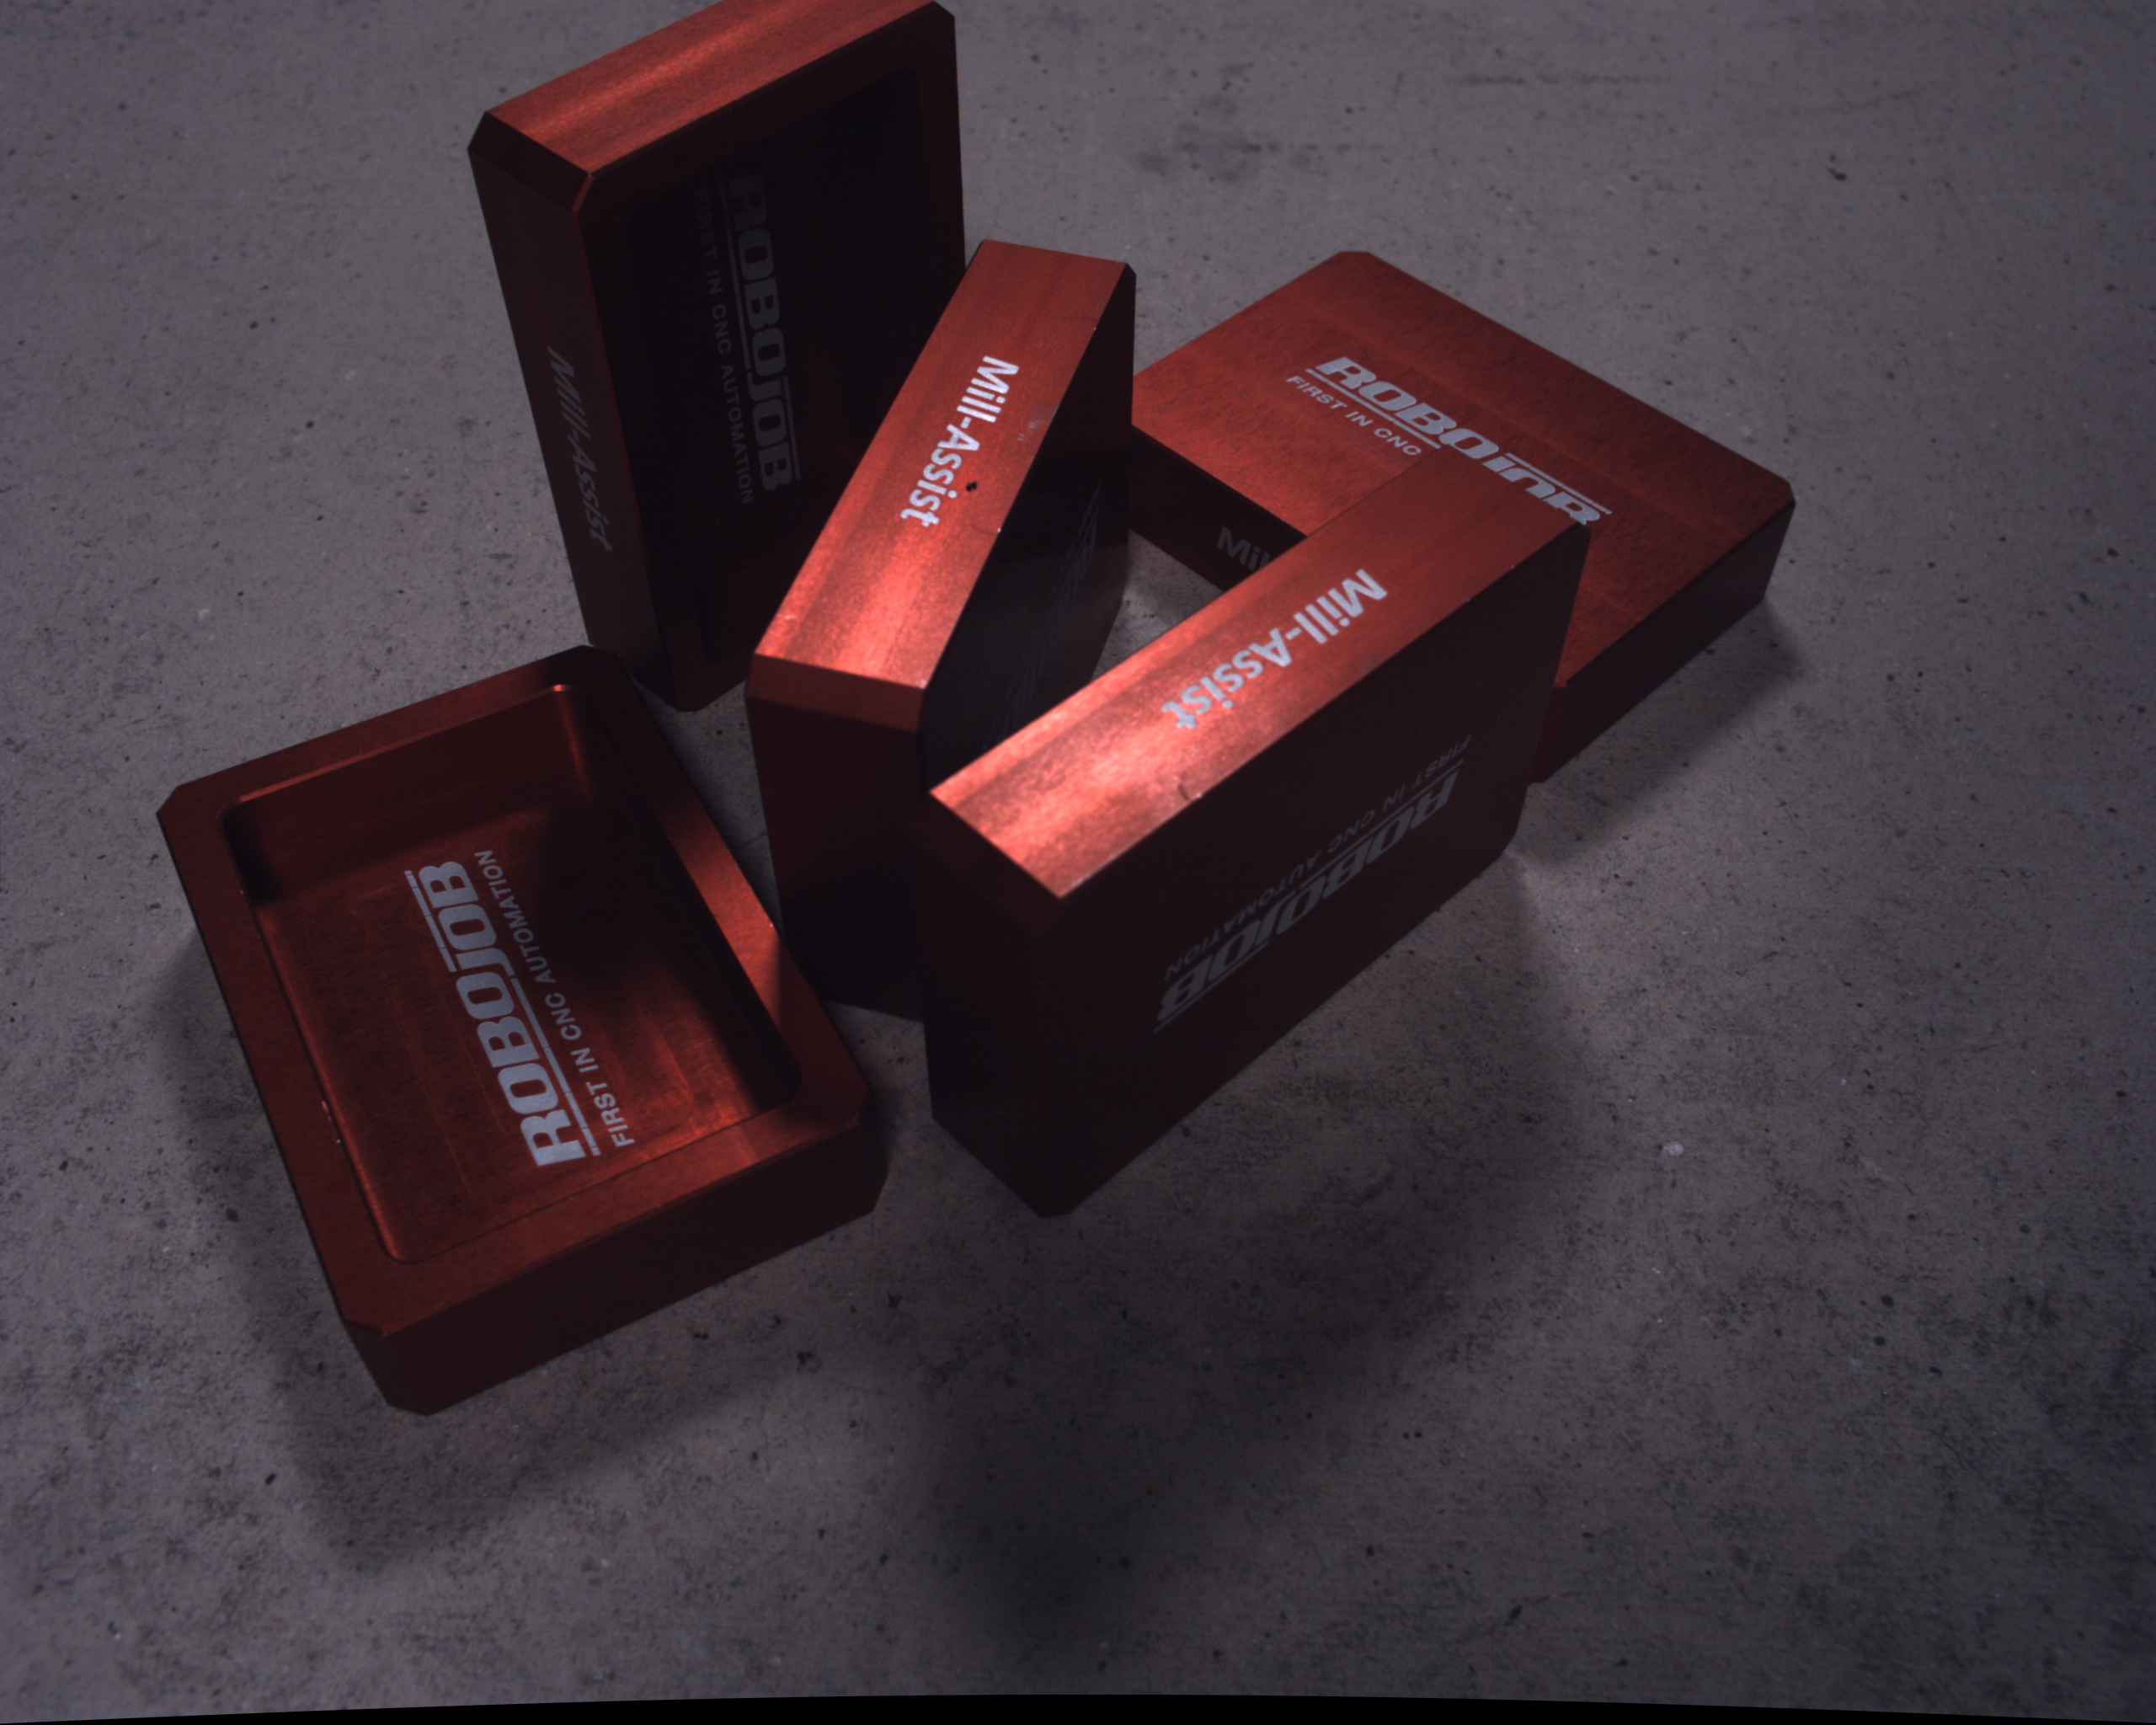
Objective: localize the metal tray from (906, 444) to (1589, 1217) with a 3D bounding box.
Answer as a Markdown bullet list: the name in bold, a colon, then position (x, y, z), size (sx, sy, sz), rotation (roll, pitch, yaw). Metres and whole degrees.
- **metal tray**: position (0.031, -0.006, 0.367), size (0.131, 0.089, 0.030), rotation (-36, 59, -27)

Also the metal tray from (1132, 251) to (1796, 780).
- **metal tray**: position (0.080, -0.083, 0.472), size (0.091, 0.030, 0.130), rotation (-37, 59, -27)

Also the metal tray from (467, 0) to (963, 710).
- **metal tray**: position (-0.065, -0.104, 0.423), size (0.030, 0.129, 0.090), rotation (36, 58, 26)

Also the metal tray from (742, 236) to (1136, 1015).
- **metal tray**: position (-0.021, -0.046, 0.401), size (0.030, 0.089, 0.130), rotation (13, 51, 10)

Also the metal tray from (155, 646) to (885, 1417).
- **metal tray**: position (-0.103, 0.024, 0.380), size (0.091, 0.030, 0.130), rotation (-23, 54, -19)
